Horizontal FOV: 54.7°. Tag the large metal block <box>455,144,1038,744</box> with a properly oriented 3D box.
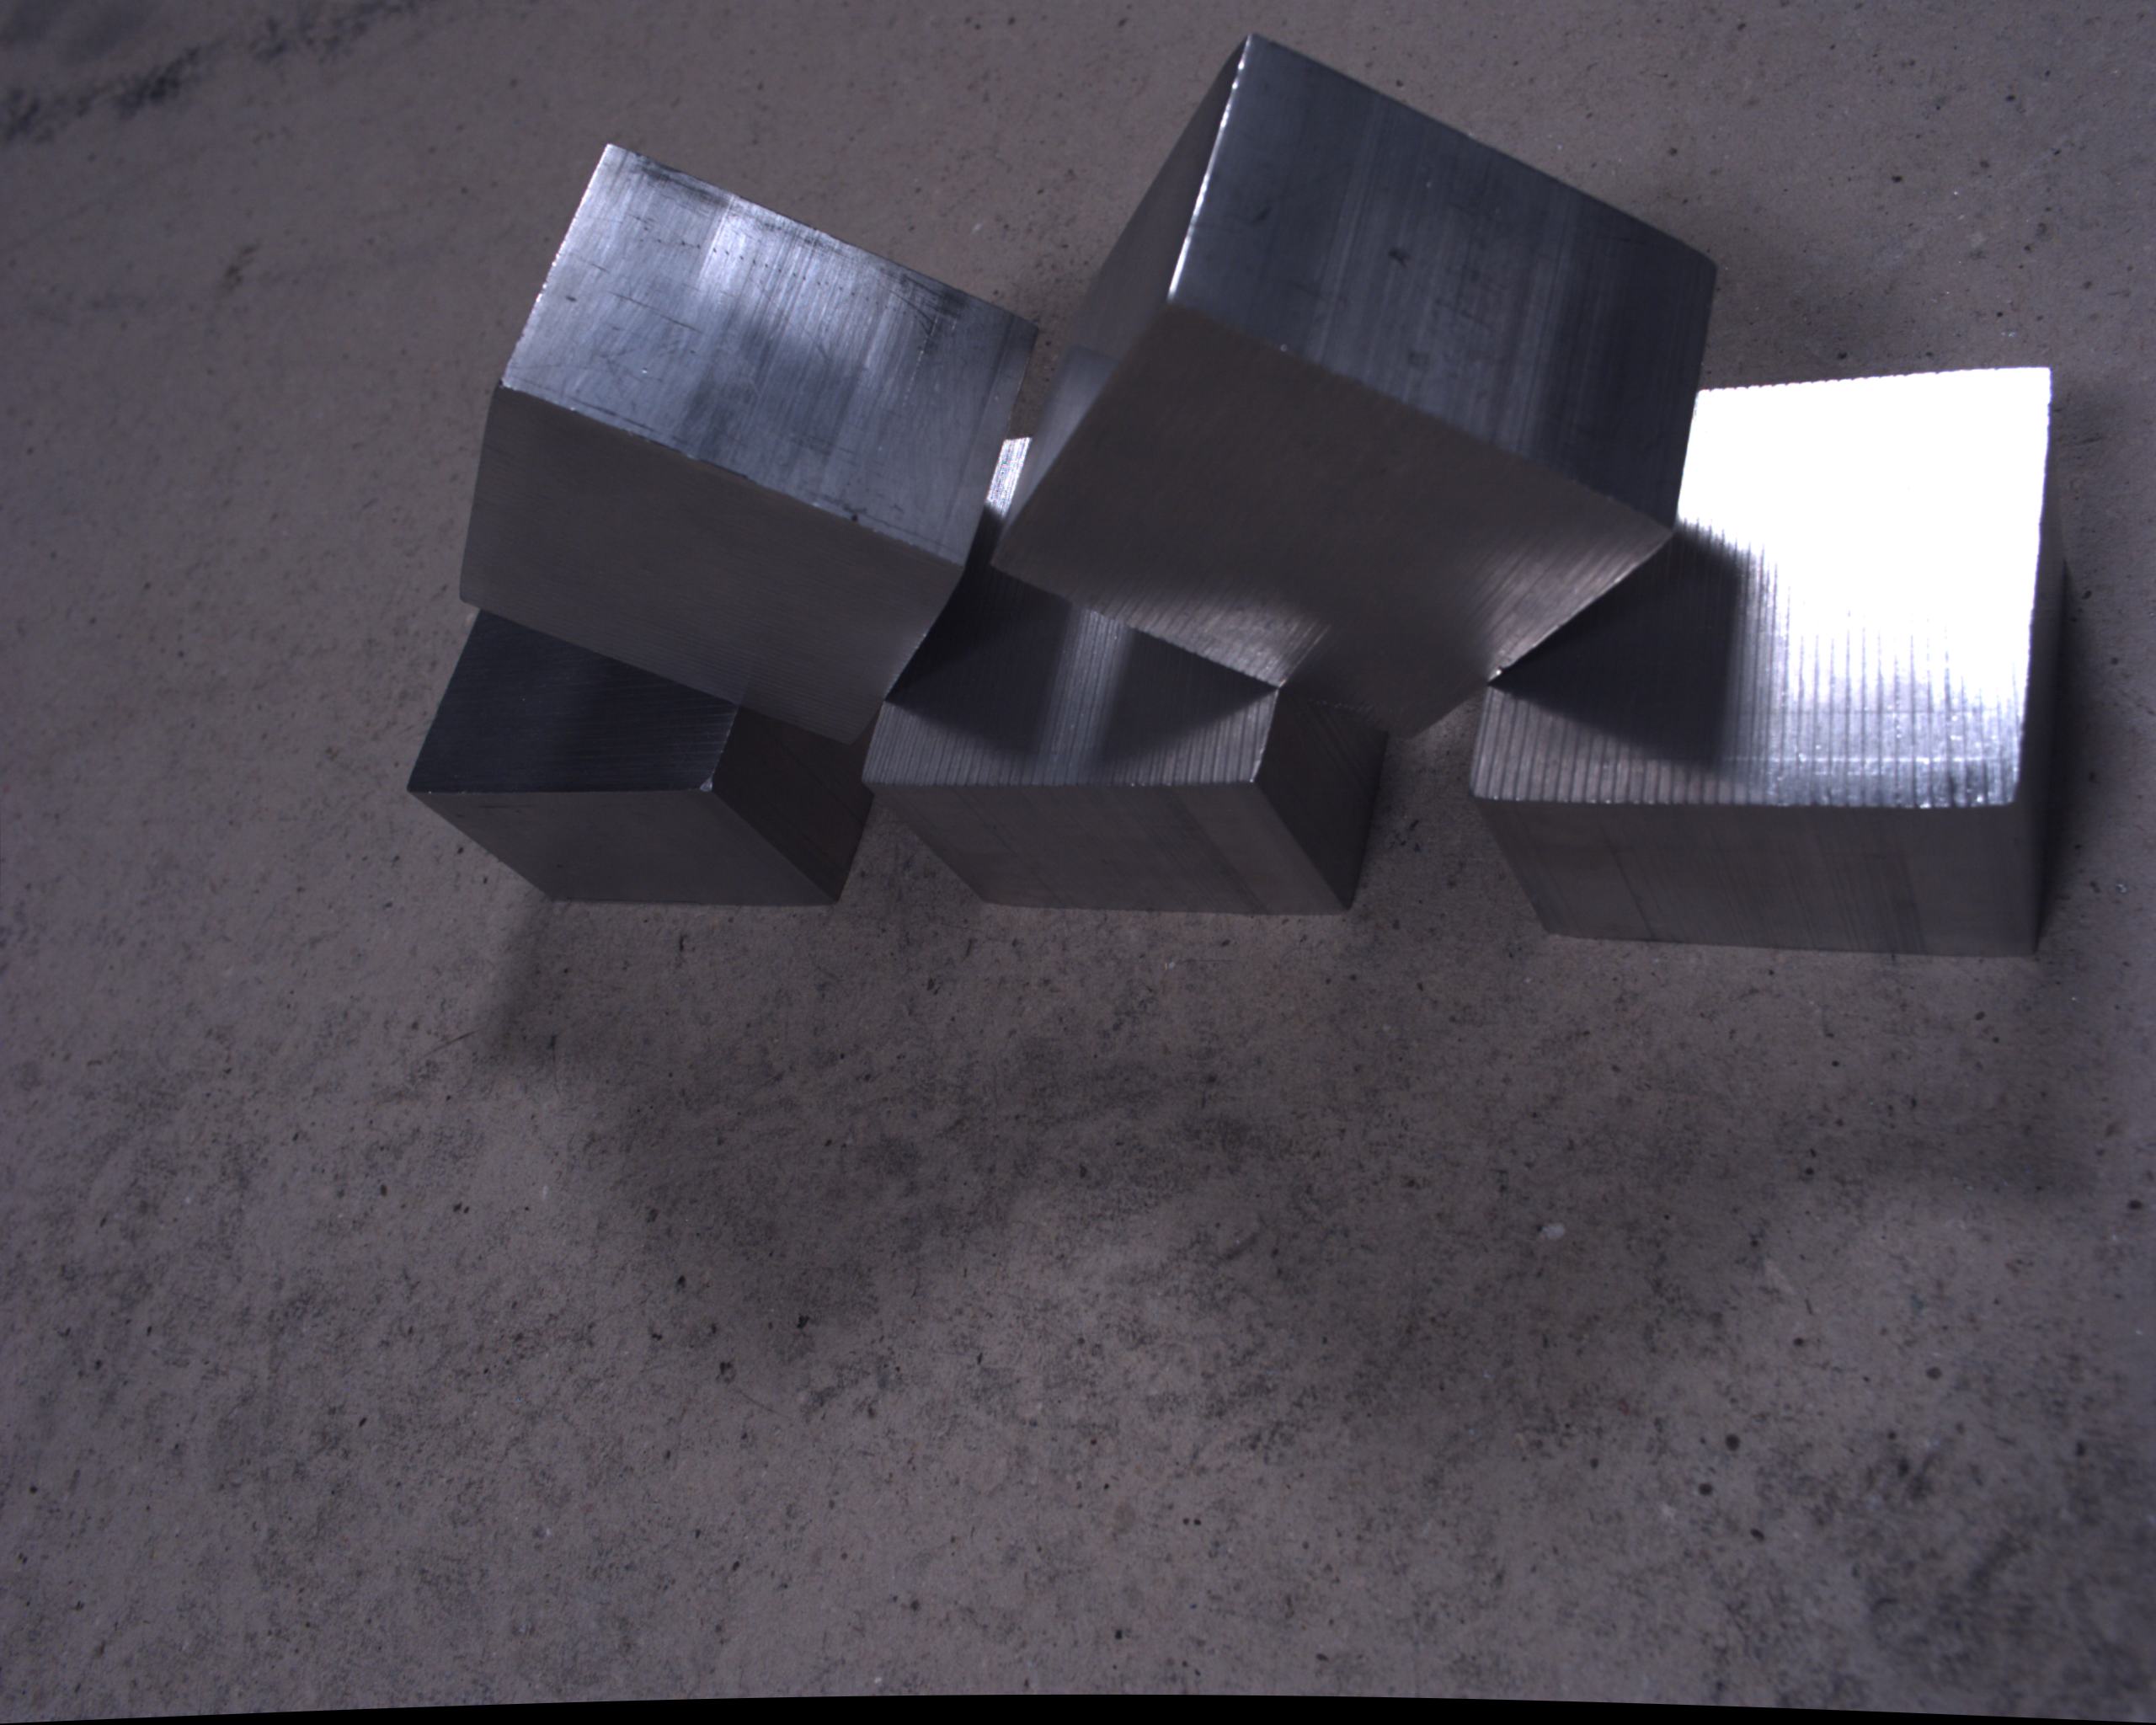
[{"bbox_3d":[-0.063,-0.072,0.381,0.080,0.080,0.050,19,65,-13],"label":"large metal block"}]

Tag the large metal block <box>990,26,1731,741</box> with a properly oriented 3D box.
[{"bbox_3d":[0.042,-0.070,0.329,0.080,0.080,0.050,137,152,-62],"label":"large metal block"}]

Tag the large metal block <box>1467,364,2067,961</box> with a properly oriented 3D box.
[{"bbox_3d":[0.117,-0.032,0.347,0.080,0.050,0.080,2,62,28],"label":"large metal block"}]

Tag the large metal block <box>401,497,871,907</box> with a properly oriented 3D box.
[{"bbox_3d":[-0.088,-0.038,0.457,0.080,0.050,0.080,0,62,28],"label":"large metal block"}]

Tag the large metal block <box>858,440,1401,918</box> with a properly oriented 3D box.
[{"bbox_3d":[0.015,-0.037,0.404,0.080,0.050,0.080,1,62,28],"label":"large metal block"}]
